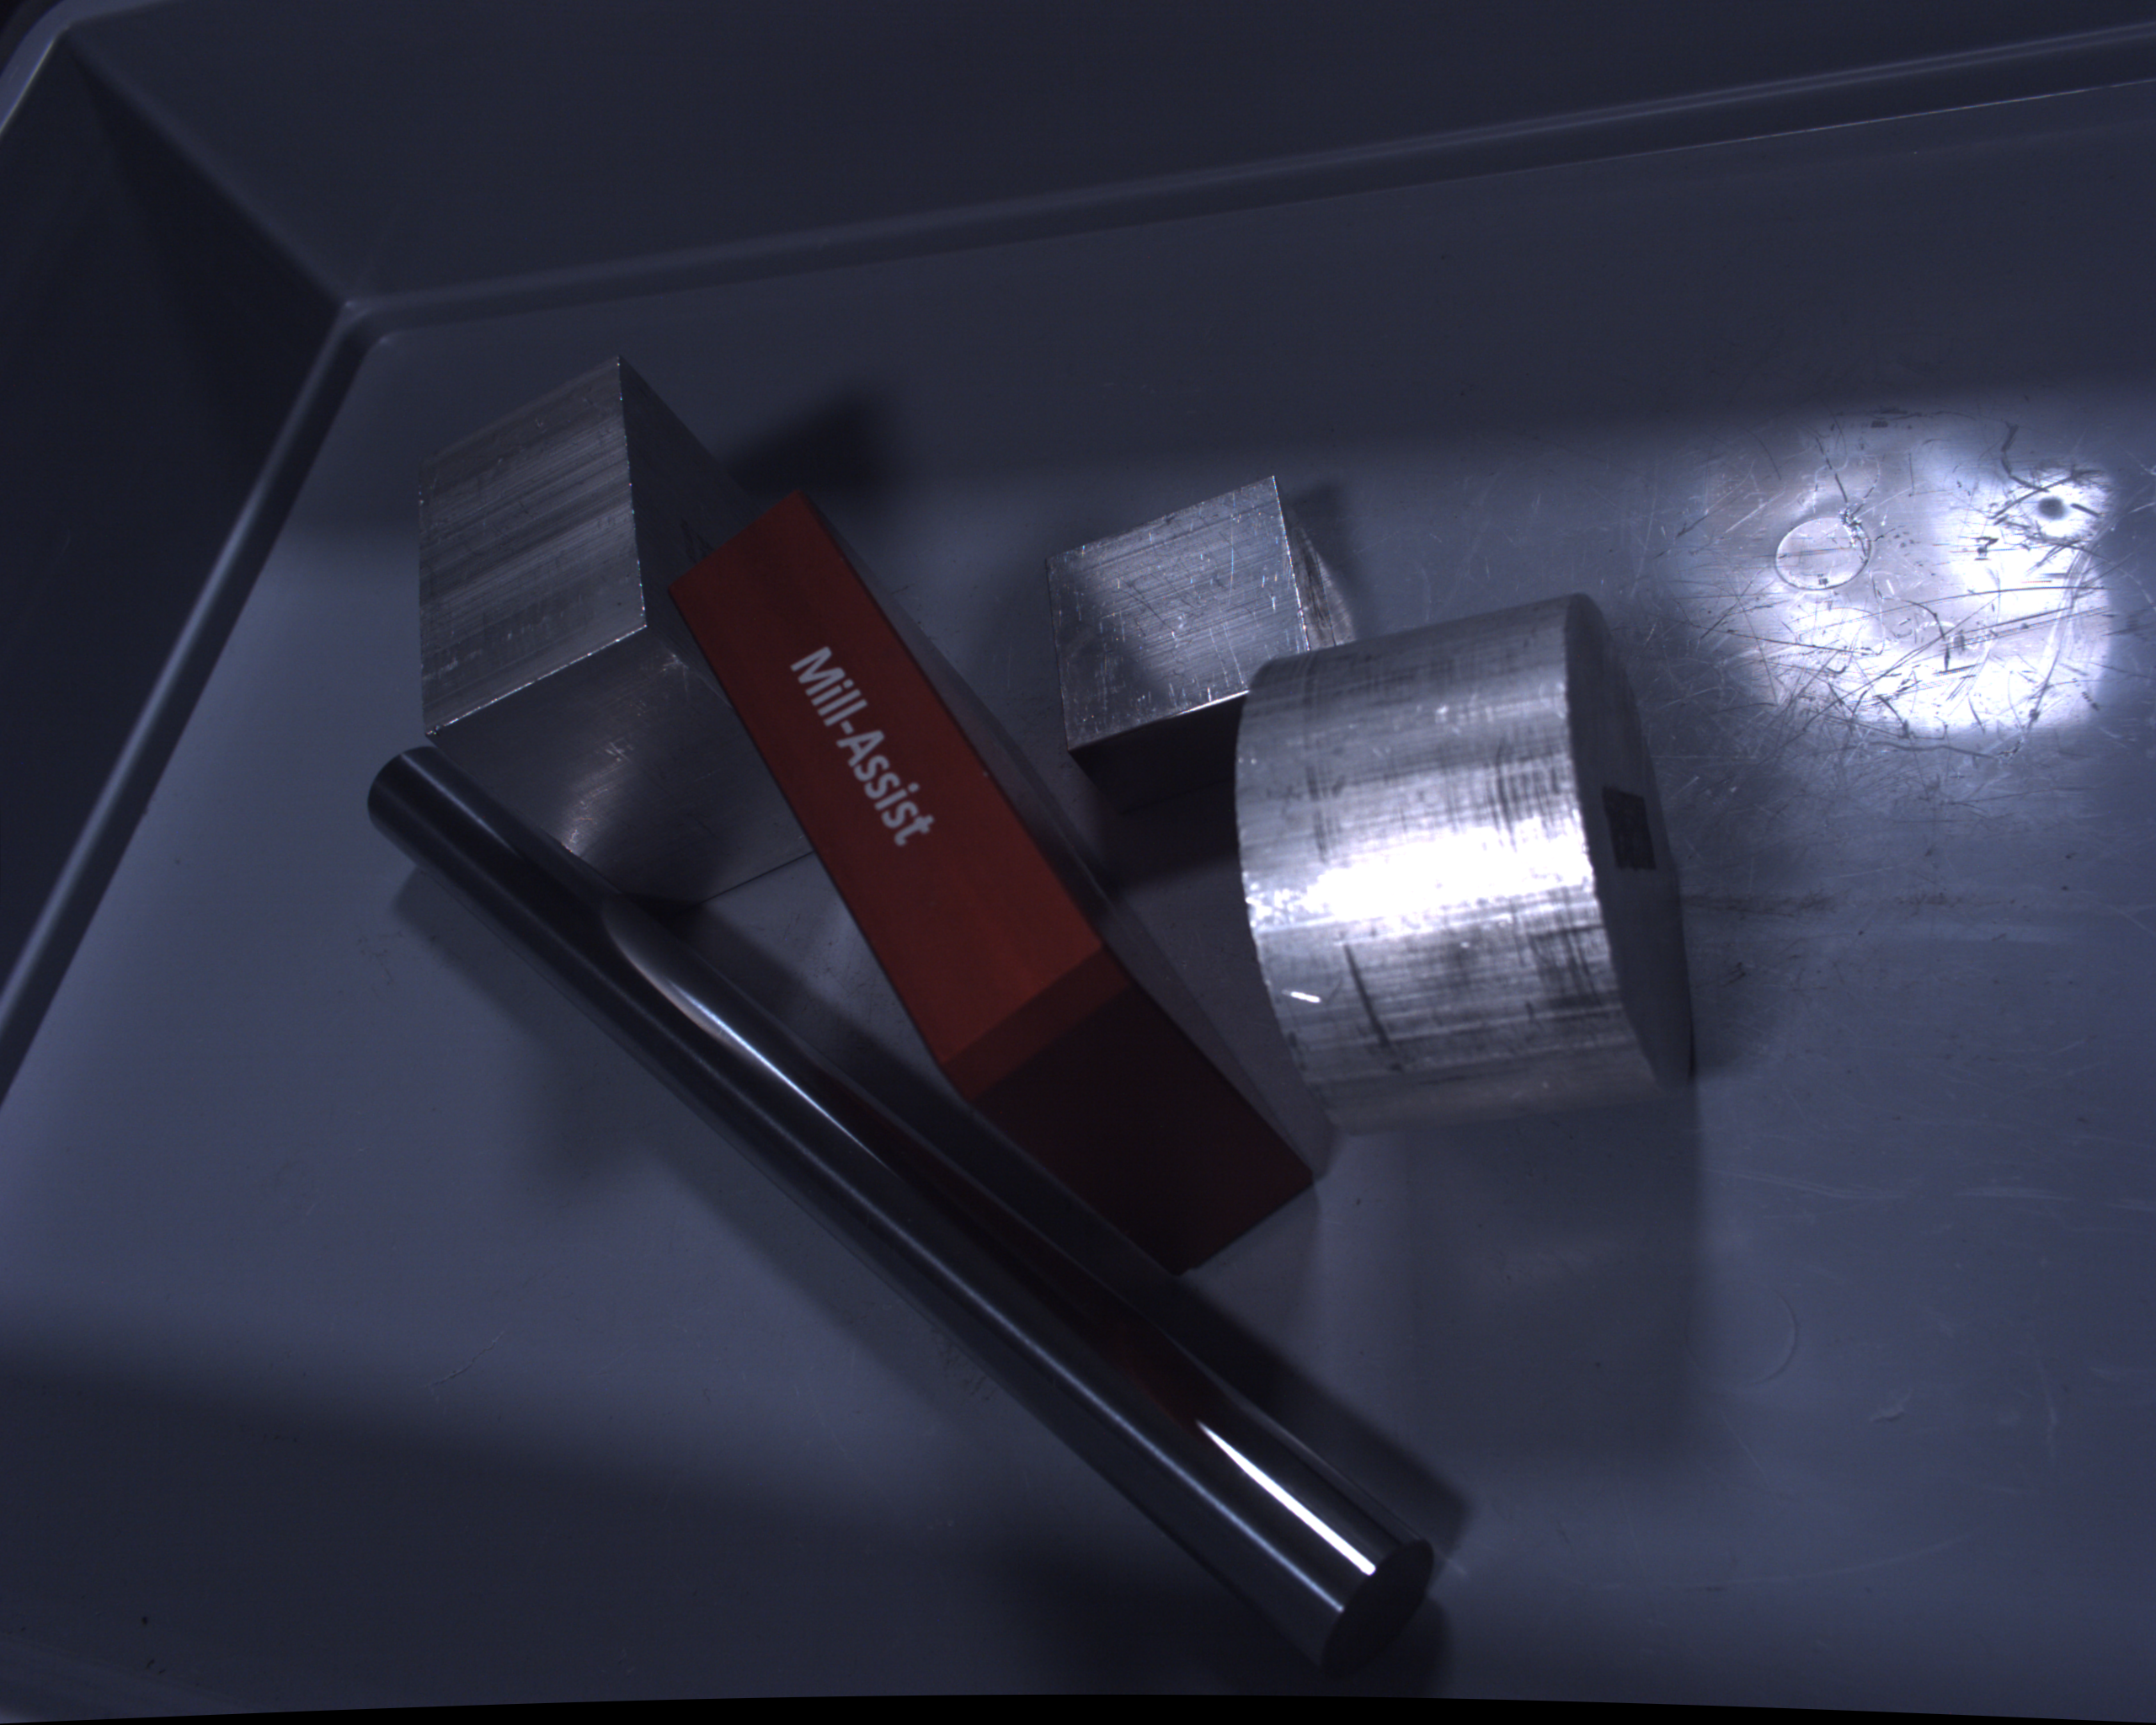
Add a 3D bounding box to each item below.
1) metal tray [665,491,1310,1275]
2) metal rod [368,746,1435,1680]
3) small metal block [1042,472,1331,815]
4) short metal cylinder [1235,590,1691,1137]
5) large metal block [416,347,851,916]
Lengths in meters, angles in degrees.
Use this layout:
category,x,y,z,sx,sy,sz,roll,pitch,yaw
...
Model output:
category,x,y,z,sx,sy,sz,roll,pitch,yaw
metal tray,-0.017,0.002,0.367,0.030,0.090,0.130,-37,51,3
metal rod,-0.055,0.048,0.402,0.300,0.025,0.025,32,80,37
small metal block,0.023,-0.044,0.416,0.050,0.025,0.050,-18,55,17
short metal cylinder,0.063,0.001,0.334,0.050,0.080,0.080,-11,57,23
large metal block,-0.094,-0.047,0.444,0.050,0.080,0.080,-24,53,14
